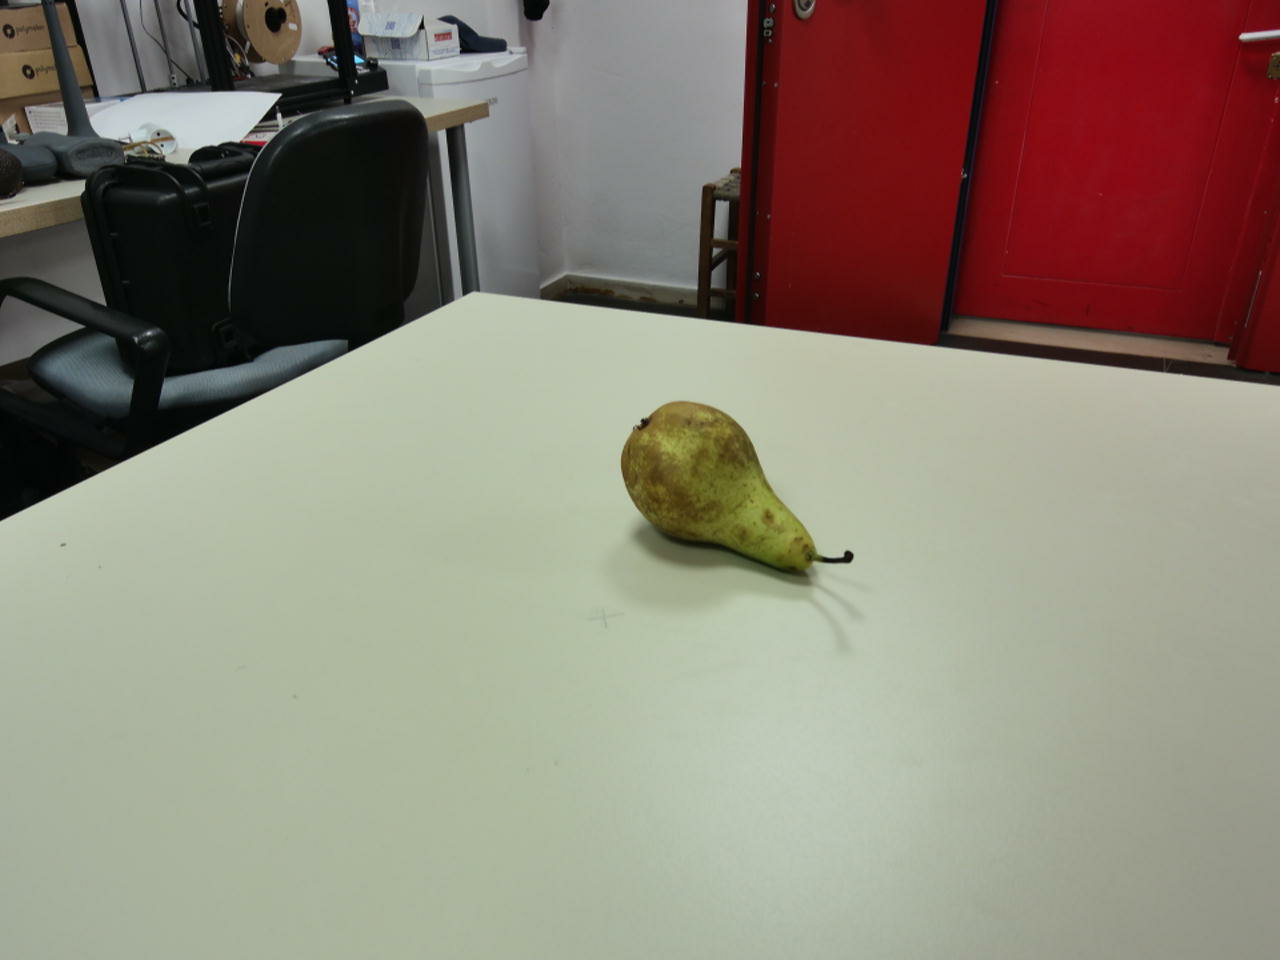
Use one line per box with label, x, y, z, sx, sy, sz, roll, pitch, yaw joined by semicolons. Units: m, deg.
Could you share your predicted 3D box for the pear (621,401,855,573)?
pear;0.057;0.002;0.526;0.144;0.075;0.071;14;29;29
